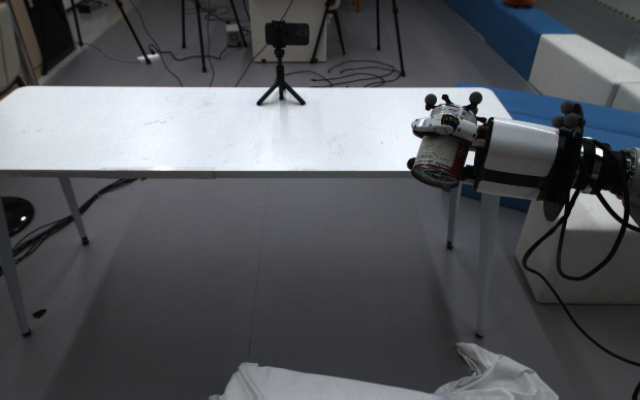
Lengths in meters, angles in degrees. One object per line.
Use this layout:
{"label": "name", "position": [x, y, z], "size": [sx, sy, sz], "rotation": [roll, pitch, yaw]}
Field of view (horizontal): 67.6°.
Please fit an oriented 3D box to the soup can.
{"label": "soup can", "position": [0.175, -0.079, 0.685], "size": [0.067, 0.067, 0.101], "rotation": [16, 75, 19]}
